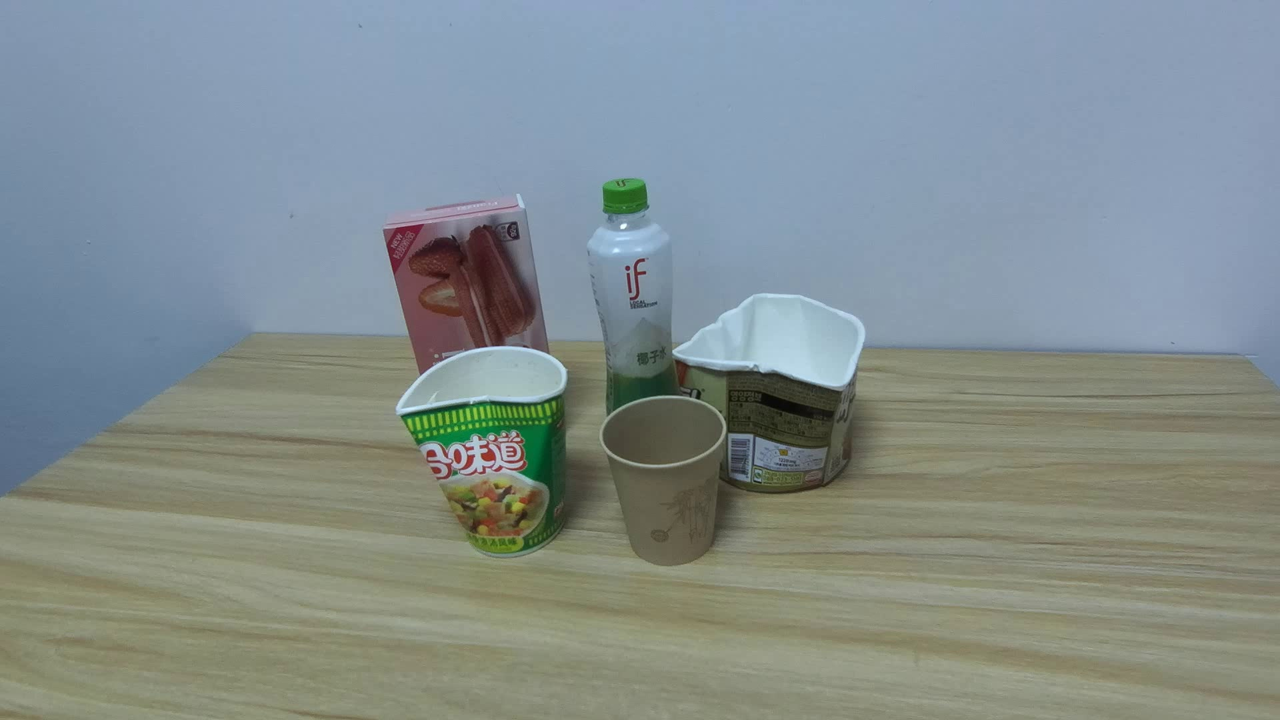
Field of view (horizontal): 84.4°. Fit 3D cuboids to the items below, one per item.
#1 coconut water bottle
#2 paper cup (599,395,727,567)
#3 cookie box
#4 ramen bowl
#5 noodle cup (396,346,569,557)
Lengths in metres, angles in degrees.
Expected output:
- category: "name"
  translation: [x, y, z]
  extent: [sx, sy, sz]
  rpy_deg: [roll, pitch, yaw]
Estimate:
- category: "coconut water bottle"
  translation: [-0.003, -0.037, 0.531]
  extent: [0.063, 0.189, 0.063]
  rpy_deg: [-4, 25, 2]
- category: "paper cup"
  translation: [0.016, 0.076, 0.429]
  extent: [0.075, 0.082, 0.075]
  rpy_deg: [-4, 29, 3]
- category: "cookie box"
  translation: [-0.118, -0.022, 0.530]
  extent: [0.096, 0.185, 0.048]
  rpy_deg: [-11, 26, -6]
- category: "ramen bowl"
  translation: [0.097, 0.017, 0.506]
  extent: [0.113, 0.098, 0.134]
  rpy_deg: [6, 31, 22]
- category: "noodle cup"
  translation: [-0.085, 0.059, 0.452]
  extent: [0.093, 0.109, 0.087]
  rpy_deg: [5, 30, 20]
